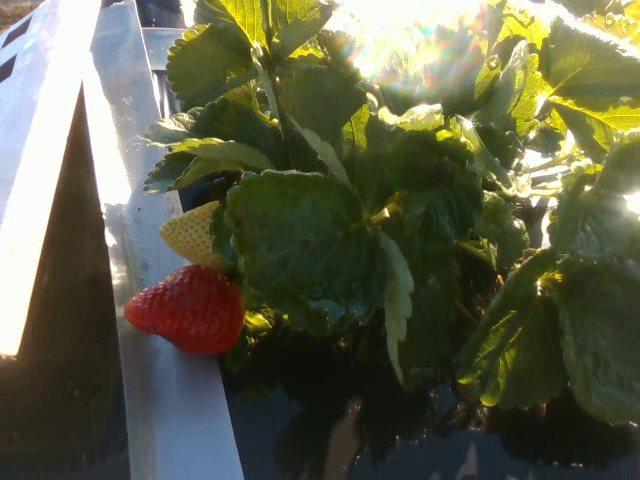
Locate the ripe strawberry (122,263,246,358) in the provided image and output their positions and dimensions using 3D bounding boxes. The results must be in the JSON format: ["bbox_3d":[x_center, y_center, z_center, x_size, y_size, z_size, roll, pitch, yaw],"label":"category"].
[{"bbox_3d":[-0.059,0.030,0.263,0.045,0.049,0.063,-6,-7,36],"label":"ripe strawberry"}]
